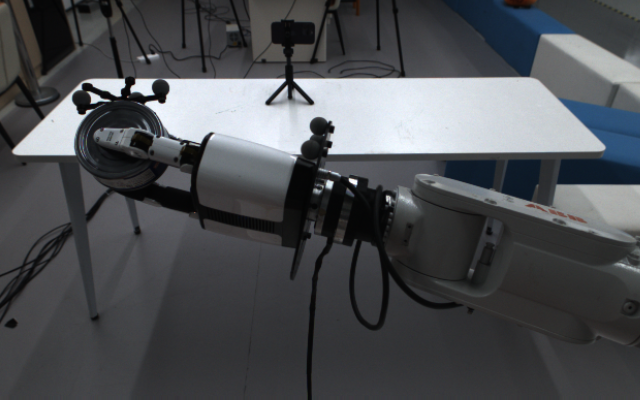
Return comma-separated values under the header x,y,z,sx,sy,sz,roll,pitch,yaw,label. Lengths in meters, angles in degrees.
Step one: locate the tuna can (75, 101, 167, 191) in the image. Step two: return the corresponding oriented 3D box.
x,y,z,sx,sy,sz,roll,pitch,yaw,label
-0.189,-0.049,0.475,0.085,0.034,0.085,0,72,-1,tuna can
